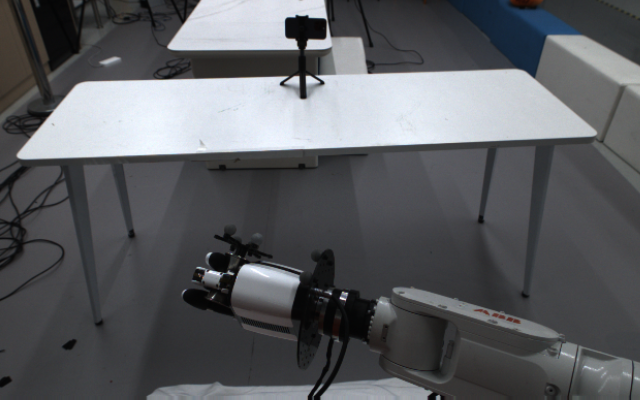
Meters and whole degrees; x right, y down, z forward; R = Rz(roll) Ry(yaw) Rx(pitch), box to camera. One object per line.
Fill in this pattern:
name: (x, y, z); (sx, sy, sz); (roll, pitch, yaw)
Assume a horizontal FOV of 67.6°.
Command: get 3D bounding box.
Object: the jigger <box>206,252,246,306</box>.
jigger: (-0.125, 0.111, 0.669); (0.043, 0.043, 0.071); (15, 70, 18)
